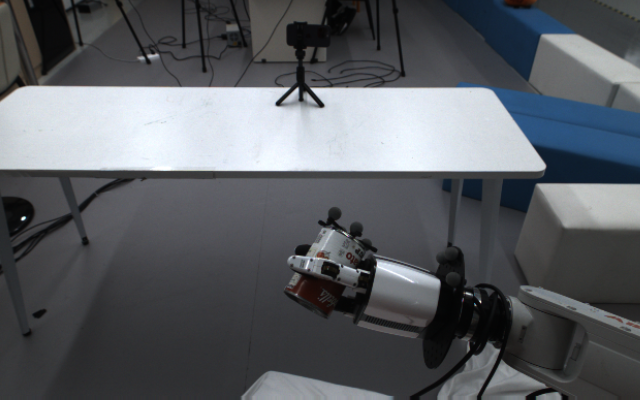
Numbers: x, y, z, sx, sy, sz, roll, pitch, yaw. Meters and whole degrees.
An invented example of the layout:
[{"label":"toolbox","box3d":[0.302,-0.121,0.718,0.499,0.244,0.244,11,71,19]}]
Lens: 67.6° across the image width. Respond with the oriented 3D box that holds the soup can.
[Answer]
[{"label":"soup can","box3d":[0.006,0.092,0.629,0.067,0.067,0.101,25,72,29]}]
